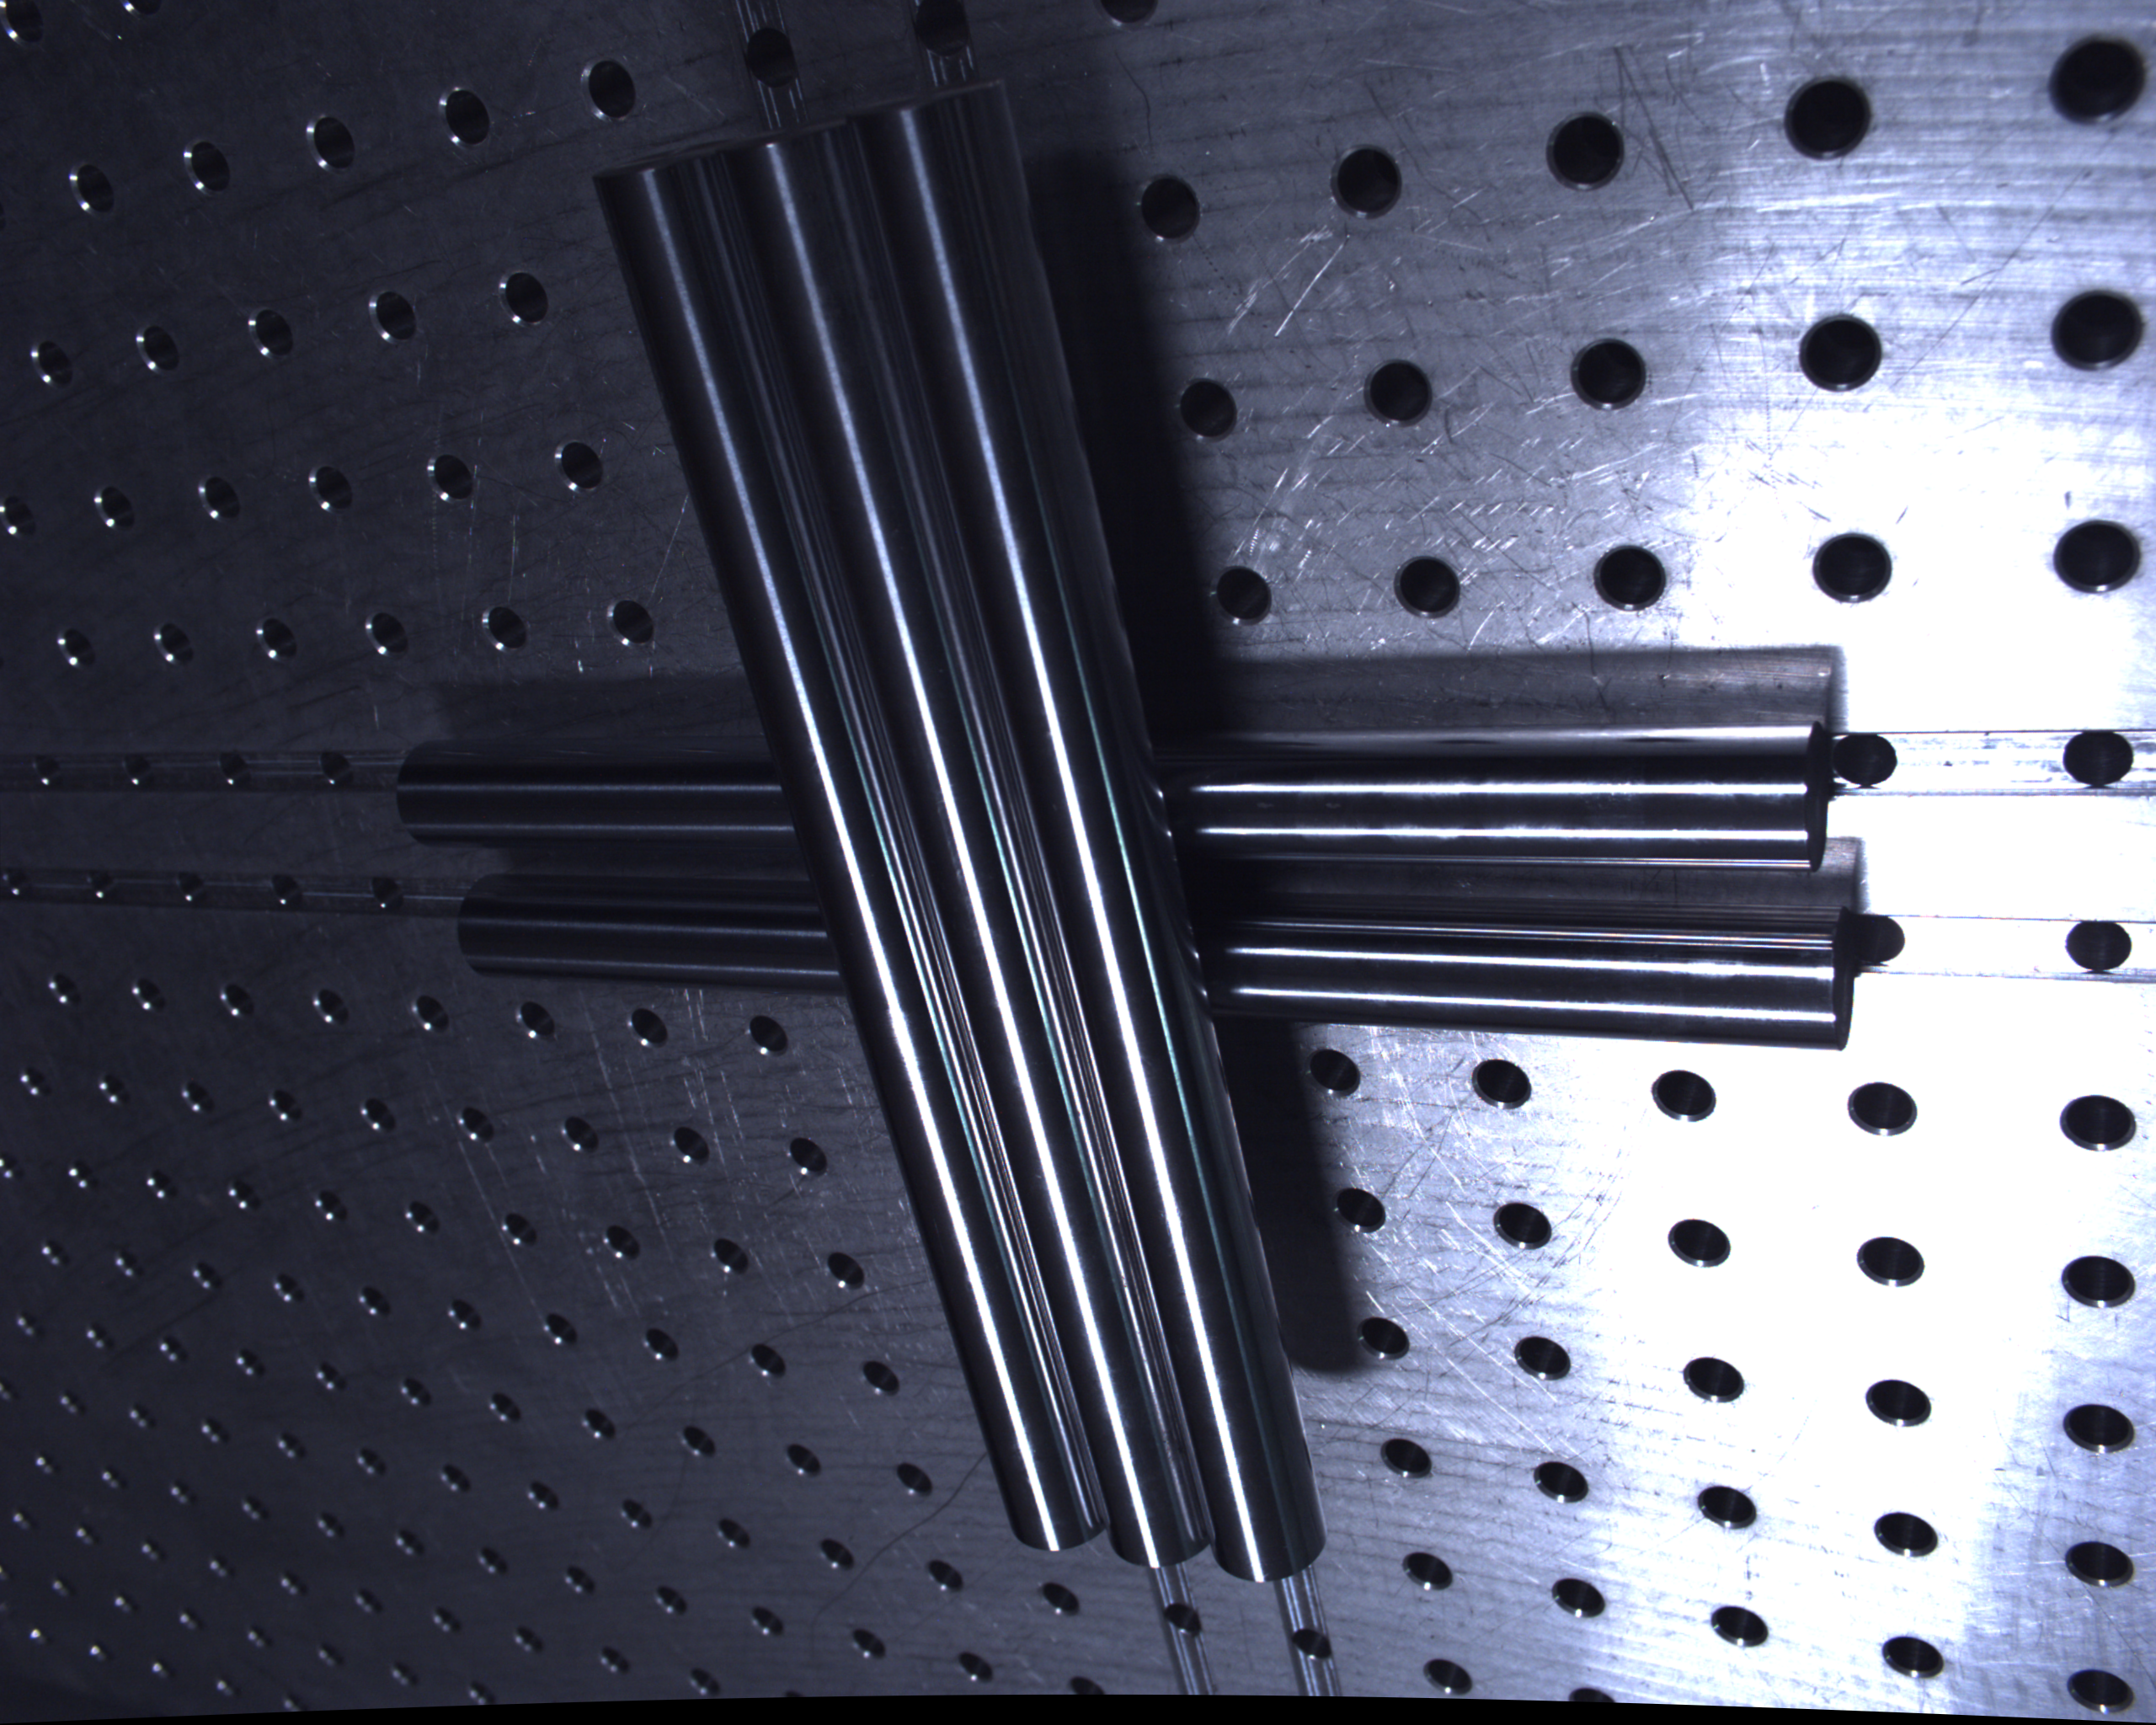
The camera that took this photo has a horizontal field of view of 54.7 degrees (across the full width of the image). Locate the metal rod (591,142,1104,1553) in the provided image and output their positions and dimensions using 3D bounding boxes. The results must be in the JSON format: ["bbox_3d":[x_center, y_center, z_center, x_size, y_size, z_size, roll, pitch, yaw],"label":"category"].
[{"bbox_3d":[-0.035,0.015,0.406,0.025,0.025,0.298,0,119,27],"label":"metal rod"}]

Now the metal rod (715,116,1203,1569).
[{"bbox_3d":[-0.013,0.015,0.394,0.025,0.025,0.298,0,119,27],"label":"metal rod"}]

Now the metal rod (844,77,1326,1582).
[{"bbox_3d":[0.009,0.014,0.382,0.025,0.025,0.298,0,119,27],"label":"metal rod"}]

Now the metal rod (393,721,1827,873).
[{"bbox_3d":[-0.013,-0.013,0.409,0.301,0.025,0.025,1,119,27],"label":"metal rod"}]

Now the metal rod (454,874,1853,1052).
[{"bbox_3d":[-0.004,0.017,0.423,0.301,0.025,0.025,1,119,27],"label":"metal rod"}]
